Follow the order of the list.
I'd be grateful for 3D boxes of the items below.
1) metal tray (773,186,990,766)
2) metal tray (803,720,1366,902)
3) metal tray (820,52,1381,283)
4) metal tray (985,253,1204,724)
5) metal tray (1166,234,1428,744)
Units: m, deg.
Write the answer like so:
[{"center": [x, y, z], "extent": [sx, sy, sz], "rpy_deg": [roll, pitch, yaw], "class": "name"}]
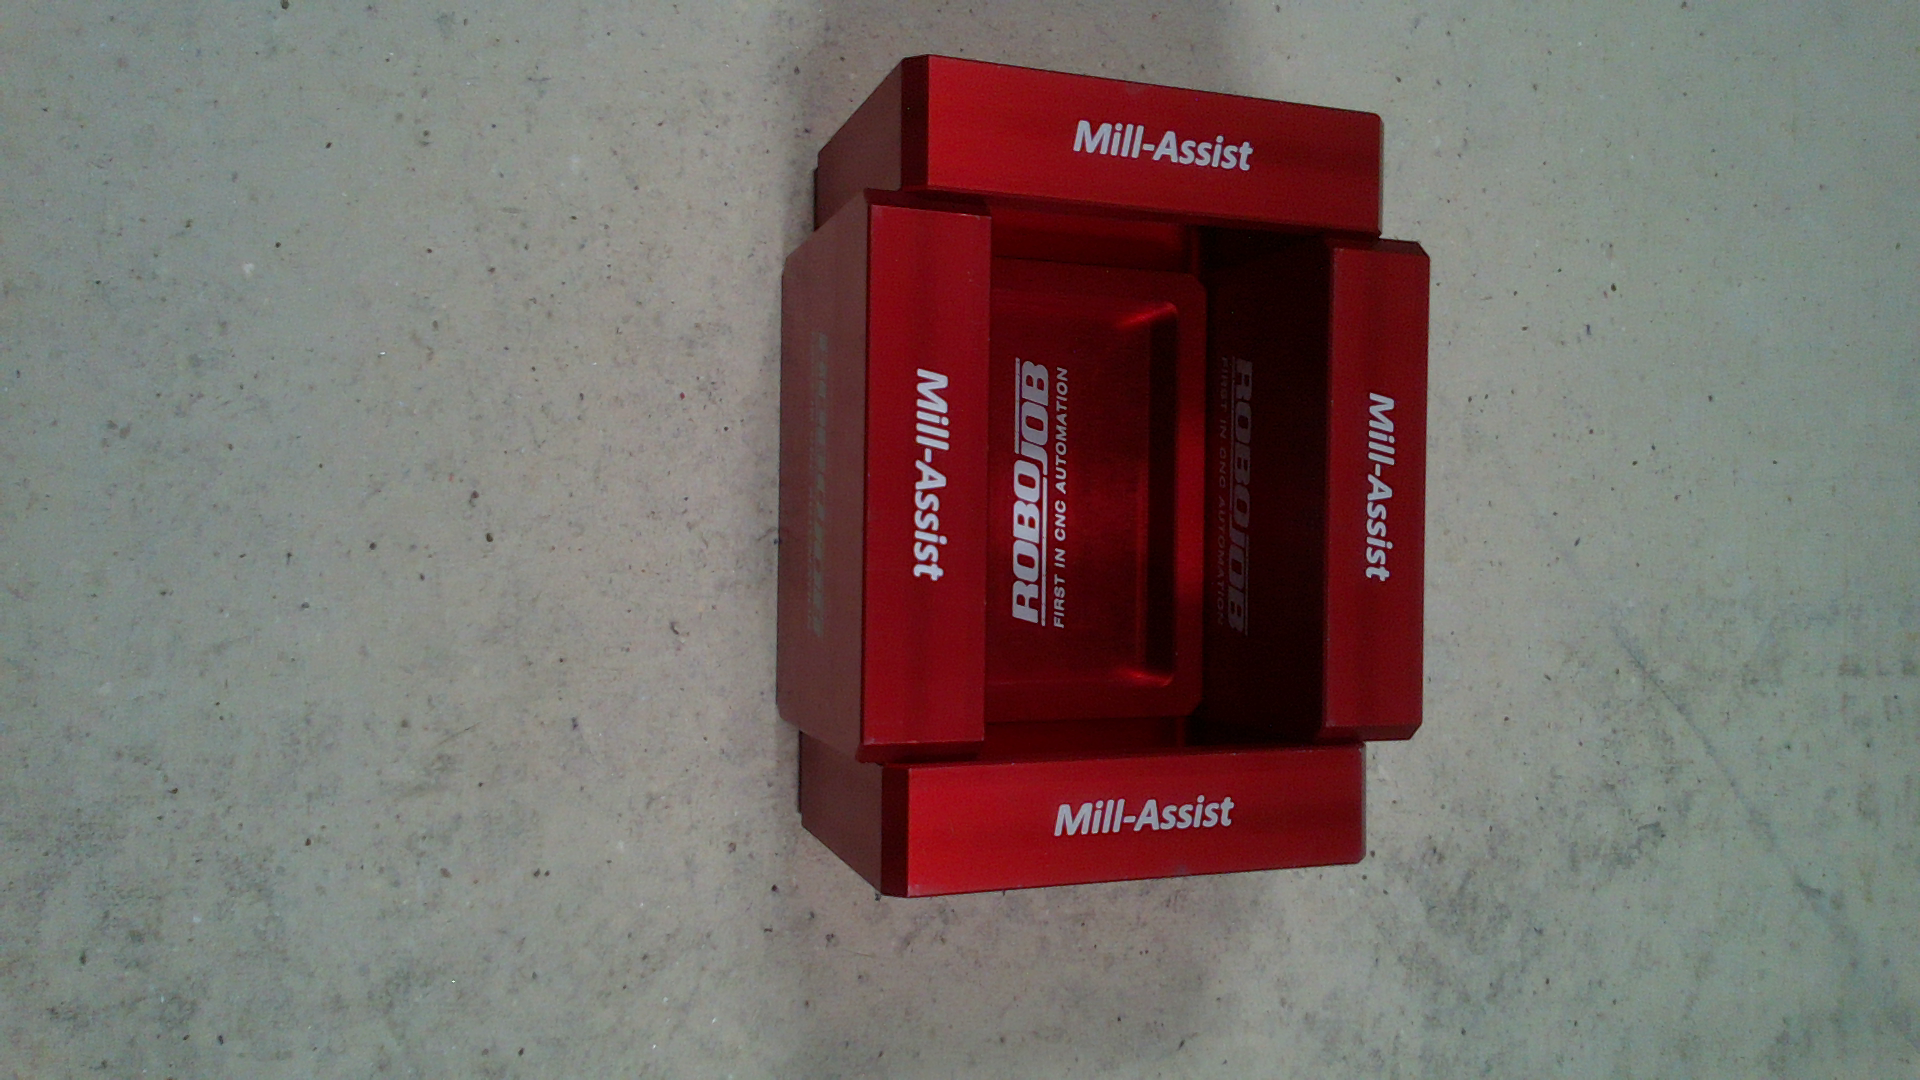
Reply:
[{"center": [-0.023, -0.014, 0.350], "extent": [0.030, 0.090, 0.130], "rpy_deg": [1, 90, -20], "class": "metal tray"}, {"center": [0.030, 0.067, 0.370], "extent": [0.130, 0.090, 0.030], "rpy_deg": [1, 90, -20], "class": "metal tray"}, {"center": [0.034, -0.094, 0.371], "extent": [0.130, 0.090, 0.030], "rpy_deg": [1, 90, -20], "class": "metal tray"}, {"center": [0.024, -0.014, 0.399], "extent": [0.090, 0.030, 0.130], "rpy_deg": [1, 90, -20], "class": "metal tray"}, {"center": [0.092, -0.013, 0.392], "extent": [0.030, 0.090, 0.130], "rpy_deg": [1, 90, -20], "class": "metal tray"}]
